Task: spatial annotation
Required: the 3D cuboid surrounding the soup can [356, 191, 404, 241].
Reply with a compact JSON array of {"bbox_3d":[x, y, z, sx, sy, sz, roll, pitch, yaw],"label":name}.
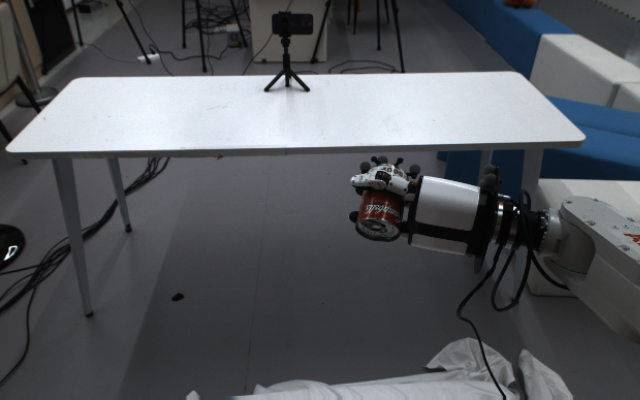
[{"bbox_3d":[0.096,0.003,0.737,0.067,0.067,0.101,9,58,10],"label":"soup can"}]
